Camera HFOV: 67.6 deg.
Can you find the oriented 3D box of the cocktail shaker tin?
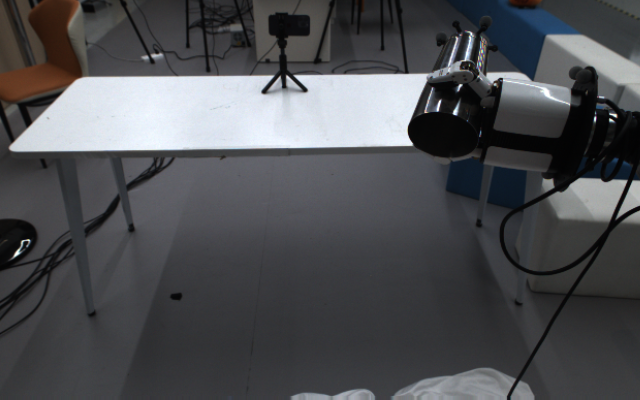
[{"bbox_3d":[0.187,-0.154,0.672,0.093,0.093,0.170,13,60,16],"label":"cocktail shaker tin"}]
